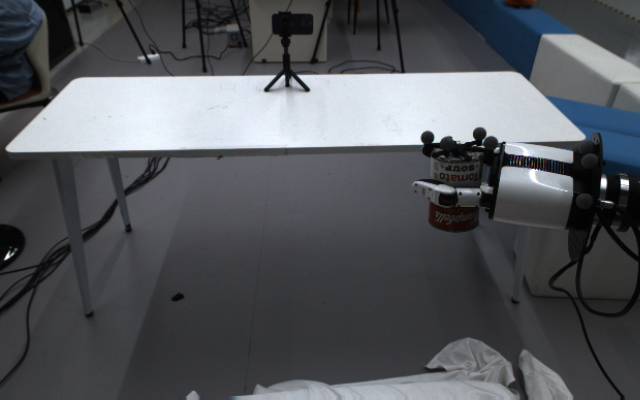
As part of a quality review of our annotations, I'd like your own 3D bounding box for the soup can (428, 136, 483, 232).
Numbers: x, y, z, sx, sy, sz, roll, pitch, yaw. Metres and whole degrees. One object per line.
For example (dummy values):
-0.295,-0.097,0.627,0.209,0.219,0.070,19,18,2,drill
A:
0.182,-0.018,0.647,0.067,0.101,0.067,-3,26,2,soup can
